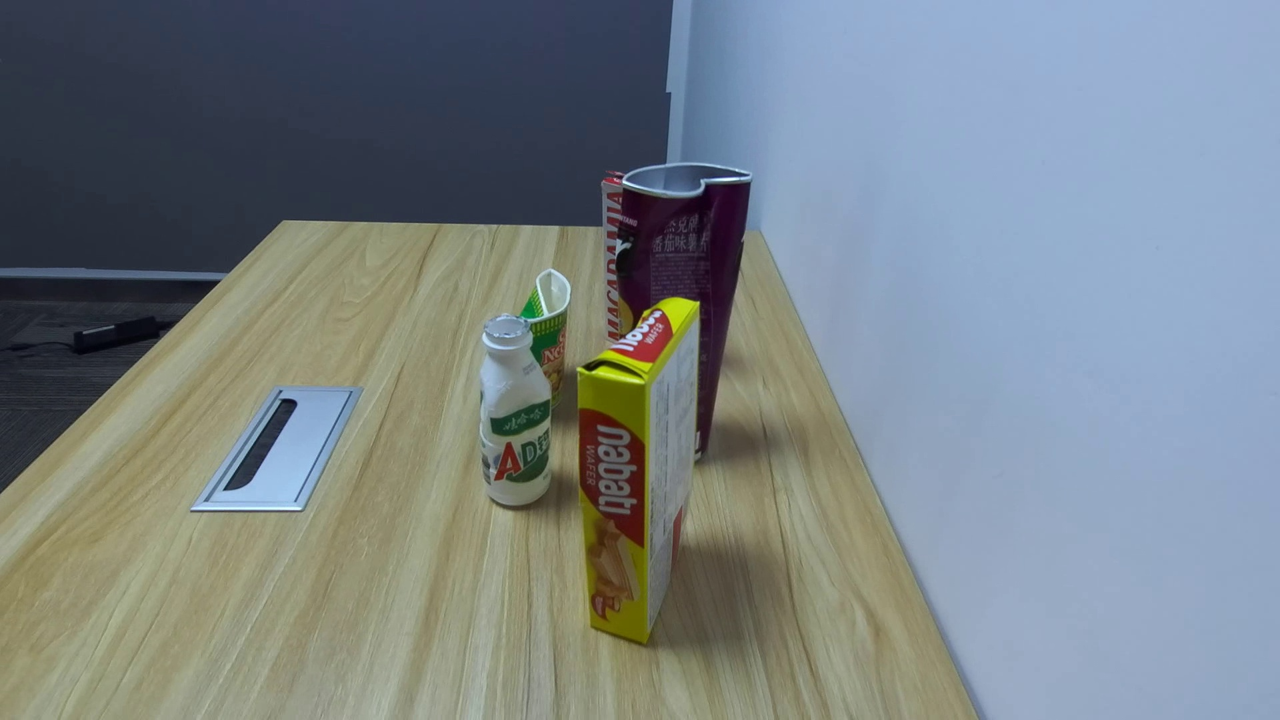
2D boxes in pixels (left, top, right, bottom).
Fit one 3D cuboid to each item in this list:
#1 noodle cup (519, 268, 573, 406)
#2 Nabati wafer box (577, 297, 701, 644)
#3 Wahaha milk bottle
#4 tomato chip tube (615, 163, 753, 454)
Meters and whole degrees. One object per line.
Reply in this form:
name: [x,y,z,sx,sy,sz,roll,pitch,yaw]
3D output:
noodle cup: [-0.102,-0.011,0.629,0.083,0.122,0.075,-17,45,-40]
Nabati wafer box: [0.004,0.065,0.431,0.042,0.204,0.107,12,34,16]
Wahaha milk bottle: [-0.092,0.037,0.516,0.055,0.149,0.055,2,33,-1]
tomato chip tube: [0.026,-0.027,0.546,0.077,0.235,0.076,18,35,22]
